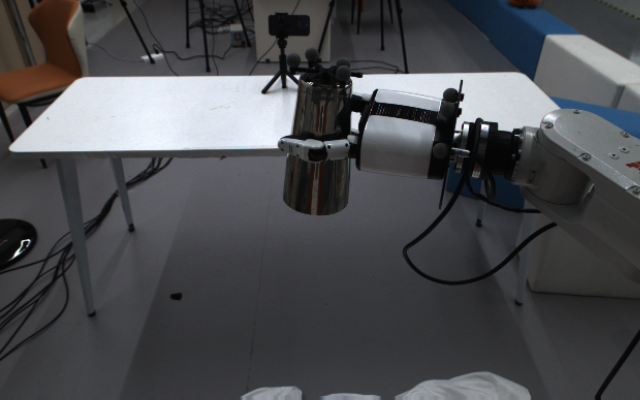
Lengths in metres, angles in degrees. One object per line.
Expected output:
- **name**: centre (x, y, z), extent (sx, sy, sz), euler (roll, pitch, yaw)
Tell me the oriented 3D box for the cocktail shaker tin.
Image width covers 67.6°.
- **cocktail shaker tin**: centre (0.001, -0.077, 0.632), extent (0.093, 0.170, 0.093), euler (4, 32, -2)
